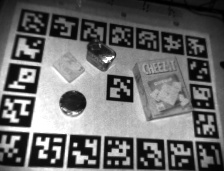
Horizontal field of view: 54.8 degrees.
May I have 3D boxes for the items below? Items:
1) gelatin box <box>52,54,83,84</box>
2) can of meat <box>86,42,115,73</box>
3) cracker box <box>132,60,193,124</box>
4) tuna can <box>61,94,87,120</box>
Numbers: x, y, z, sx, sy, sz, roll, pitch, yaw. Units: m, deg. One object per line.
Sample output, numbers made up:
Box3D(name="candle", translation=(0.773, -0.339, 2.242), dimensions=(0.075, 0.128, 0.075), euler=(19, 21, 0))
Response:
Box3D(name="gelatin box", translation=(-0.161, -0.060, 0.781), dimensions=(0.089, 0.030, 0.073), euler=(45, 64, 2))
Box3D(name="can of meat", translation=(-0.046, -0.101, 0.803), dimensions=(0.102, 0.083, 0.058), euler=(32, 66, 2))
Box3D(name="cracker box", translation=(0.189, 0.019, 0.820), dimensions=(0.165, 0.072, 0.212), euler=(-11, 72, -18))
Box3D(name="tuna can", translation=(-0.130, 0.074, 0.734), dimensions=(0.086, 0.033, 0.085), euler=(4, 73, -11))
